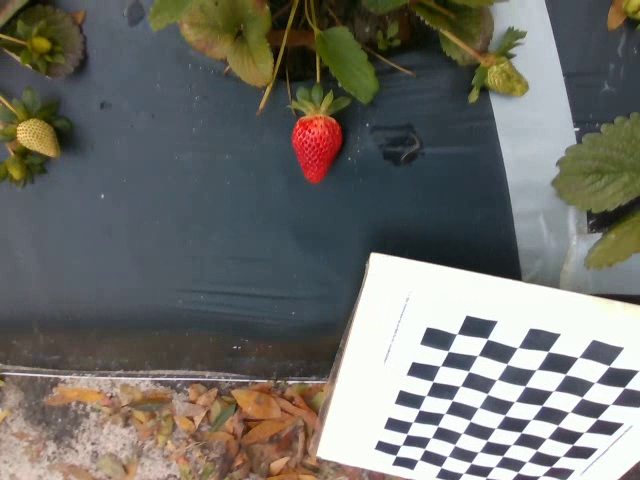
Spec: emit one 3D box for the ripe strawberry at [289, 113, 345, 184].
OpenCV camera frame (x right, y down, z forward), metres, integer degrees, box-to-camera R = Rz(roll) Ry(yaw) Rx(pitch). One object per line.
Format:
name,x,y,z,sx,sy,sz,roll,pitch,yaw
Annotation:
ripe strawberry,-0.001,-0.059,0.373,0.036,0.046,0.040,9,0,20
